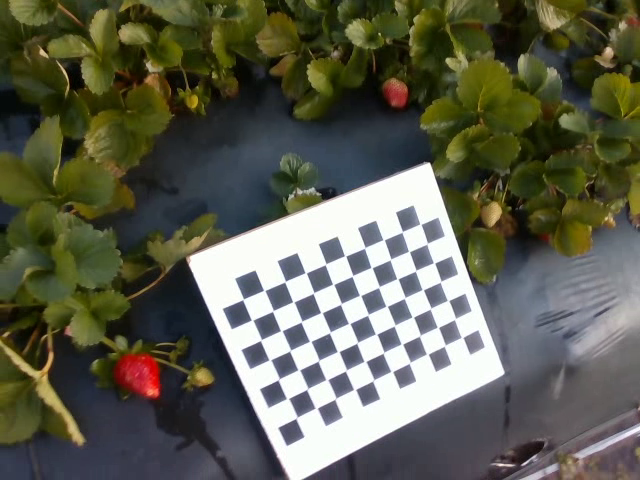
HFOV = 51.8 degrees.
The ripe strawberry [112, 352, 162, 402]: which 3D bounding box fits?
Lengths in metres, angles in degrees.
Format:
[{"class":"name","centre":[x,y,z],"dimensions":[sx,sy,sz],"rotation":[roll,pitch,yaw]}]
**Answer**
[{"class":"ripe strawberry","centre":[-0.177,0.140,0.642],"dimensions":[0.057,0.043,0.052],"rotation":[34,-11,46]}]
